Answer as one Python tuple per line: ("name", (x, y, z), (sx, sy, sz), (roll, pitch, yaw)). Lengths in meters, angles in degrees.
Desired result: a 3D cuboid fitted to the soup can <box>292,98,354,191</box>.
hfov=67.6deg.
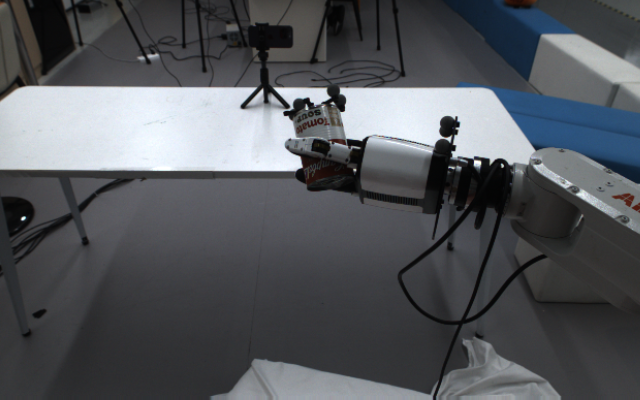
("soup can", (0.005, -0.069, 0.655), (0.067, 0.067, 0.101), (-10, 80, -16))
